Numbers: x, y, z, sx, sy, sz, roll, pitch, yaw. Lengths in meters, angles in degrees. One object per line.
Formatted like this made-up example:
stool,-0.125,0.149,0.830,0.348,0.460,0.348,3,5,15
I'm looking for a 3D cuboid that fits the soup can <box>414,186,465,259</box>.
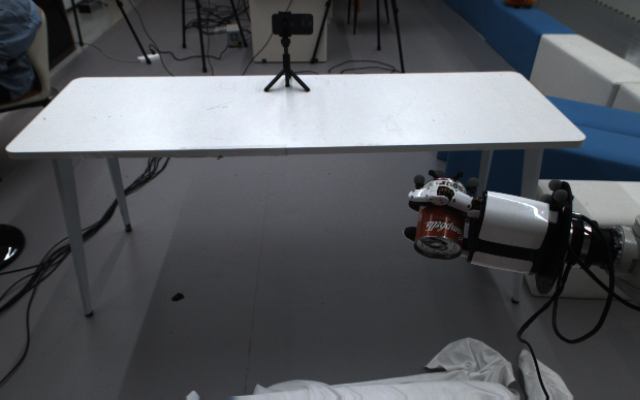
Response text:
soup can,0.178,0.025,0.704,0.067,0.067,0.101,9,58,10
